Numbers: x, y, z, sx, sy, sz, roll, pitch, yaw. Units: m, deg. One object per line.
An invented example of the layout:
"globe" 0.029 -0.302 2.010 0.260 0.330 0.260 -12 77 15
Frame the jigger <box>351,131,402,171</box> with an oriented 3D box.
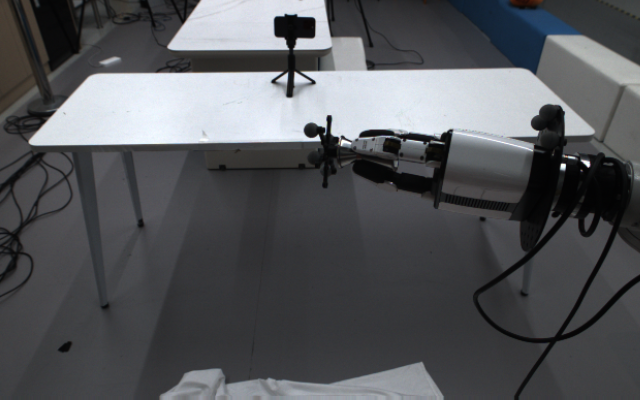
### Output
"jigger" 0.065 -0.061 0.580 0.071 0.043 0.043 2 34 17
